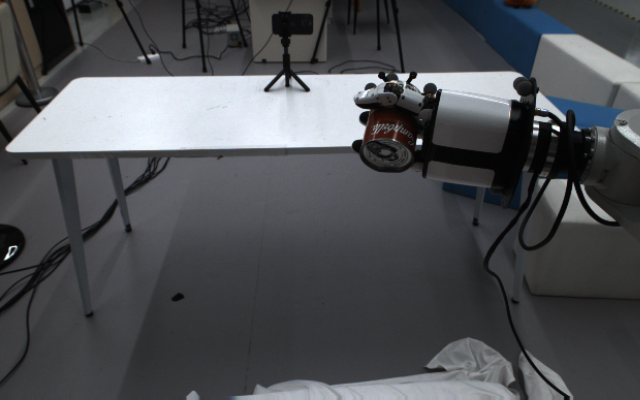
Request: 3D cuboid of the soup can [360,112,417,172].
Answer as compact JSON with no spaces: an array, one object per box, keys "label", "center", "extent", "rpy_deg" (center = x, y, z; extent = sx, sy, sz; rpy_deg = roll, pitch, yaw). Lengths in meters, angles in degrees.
[{"label":"soup can","center":[0.094,-0.096,0.618],"extent":[0.067,0.067,0.101],"rpy_deg":[9,58,10]}]
